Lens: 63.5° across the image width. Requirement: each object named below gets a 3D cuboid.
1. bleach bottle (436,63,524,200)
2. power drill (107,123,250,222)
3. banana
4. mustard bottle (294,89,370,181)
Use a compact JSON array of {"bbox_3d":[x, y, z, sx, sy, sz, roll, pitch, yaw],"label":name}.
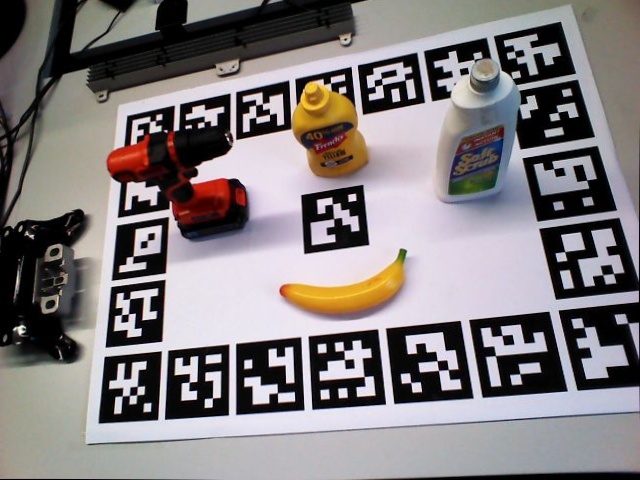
[{"bbox_3d":[0.196,-0.130,0.652,0.103,0.251,0.067,0,70,14],"label":"bleach bottle"},{"bbox_3d":[-0.174,-0.094,0.739,0.185,0.187,0.057,-14,68,13],"label":"power drill"},{"bbox_3d":[0.038,0.068,0.729,0.198,0.039,0.074,-14,70,13],"label":"banana"},{"bbox_3d":[0.014,-0.153,0.744,0.096,0.191,0.058,-15,68,7],"label":"mustard bottle"}]
